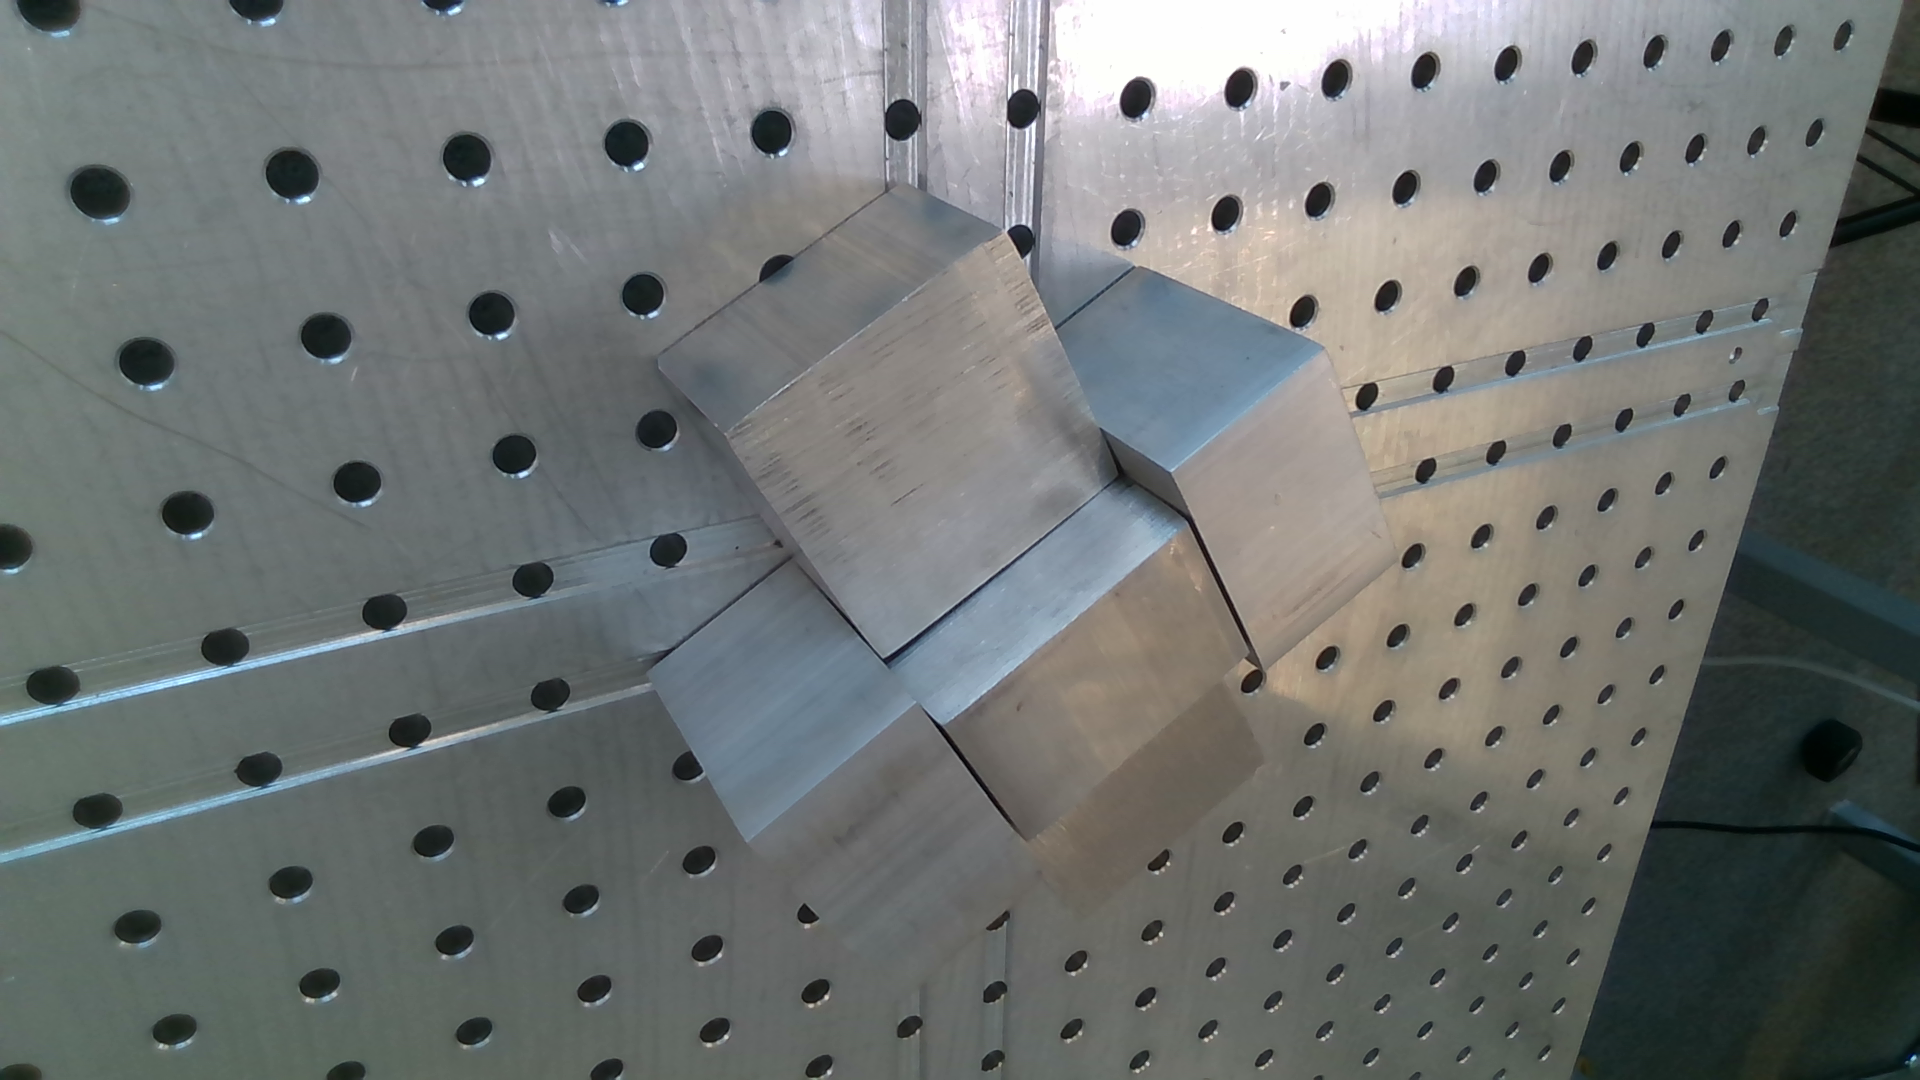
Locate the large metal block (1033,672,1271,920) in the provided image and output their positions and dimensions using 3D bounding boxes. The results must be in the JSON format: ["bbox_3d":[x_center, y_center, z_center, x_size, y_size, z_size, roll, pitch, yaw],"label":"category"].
[{"bbox_3d":[0.040,0.058,0.431,0.080,0.050,0.080,-38,128,-6],"label":"large metal block"}]

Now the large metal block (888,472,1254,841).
[{"bbox_3d":[0.018,0.020,0.379,0.080,0.080,0.050,-39,129,-8],"label":"large metal block"}]

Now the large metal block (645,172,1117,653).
[{"bbox_3d":[-0.018,-0.032,0.349,0.080,0.050,0.080,-38,128,-10],"label":"large metal block"}]

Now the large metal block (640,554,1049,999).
[{"bbox_3d":[-0.031,0.062,0.371,0.050,0.080,0.080,-39,129,-8],"label":"large metal block"}]

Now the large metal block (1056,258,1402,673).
[{"bbox_3d":[0.068,-0.022,0.385,0.050,0.080,0.080,-39,129,-9],"label":"large metal block"}]
